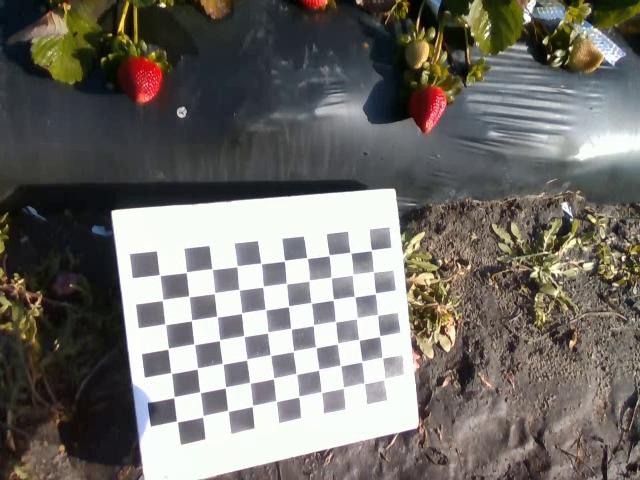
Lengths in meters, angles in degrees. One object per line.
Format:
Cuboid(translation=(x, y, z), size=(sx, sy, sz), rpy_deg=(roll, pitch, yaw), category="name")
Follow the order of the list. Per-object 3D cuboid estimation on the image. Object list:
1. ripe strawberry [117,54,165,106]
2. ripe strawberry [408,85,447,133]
Cuboid(translation=(-0.163, -0.143, 0.369), size=(0.045, 0.055, 0.042), rpy_deg=(3, -33, -18), category="ripe strawberry")
Cuboid(translation=(0.102, -0.132, 0.399), size=(0.042, 0.059, 0.042), rpy_deg=(17, -16, -17), category="ripe strawberry")
